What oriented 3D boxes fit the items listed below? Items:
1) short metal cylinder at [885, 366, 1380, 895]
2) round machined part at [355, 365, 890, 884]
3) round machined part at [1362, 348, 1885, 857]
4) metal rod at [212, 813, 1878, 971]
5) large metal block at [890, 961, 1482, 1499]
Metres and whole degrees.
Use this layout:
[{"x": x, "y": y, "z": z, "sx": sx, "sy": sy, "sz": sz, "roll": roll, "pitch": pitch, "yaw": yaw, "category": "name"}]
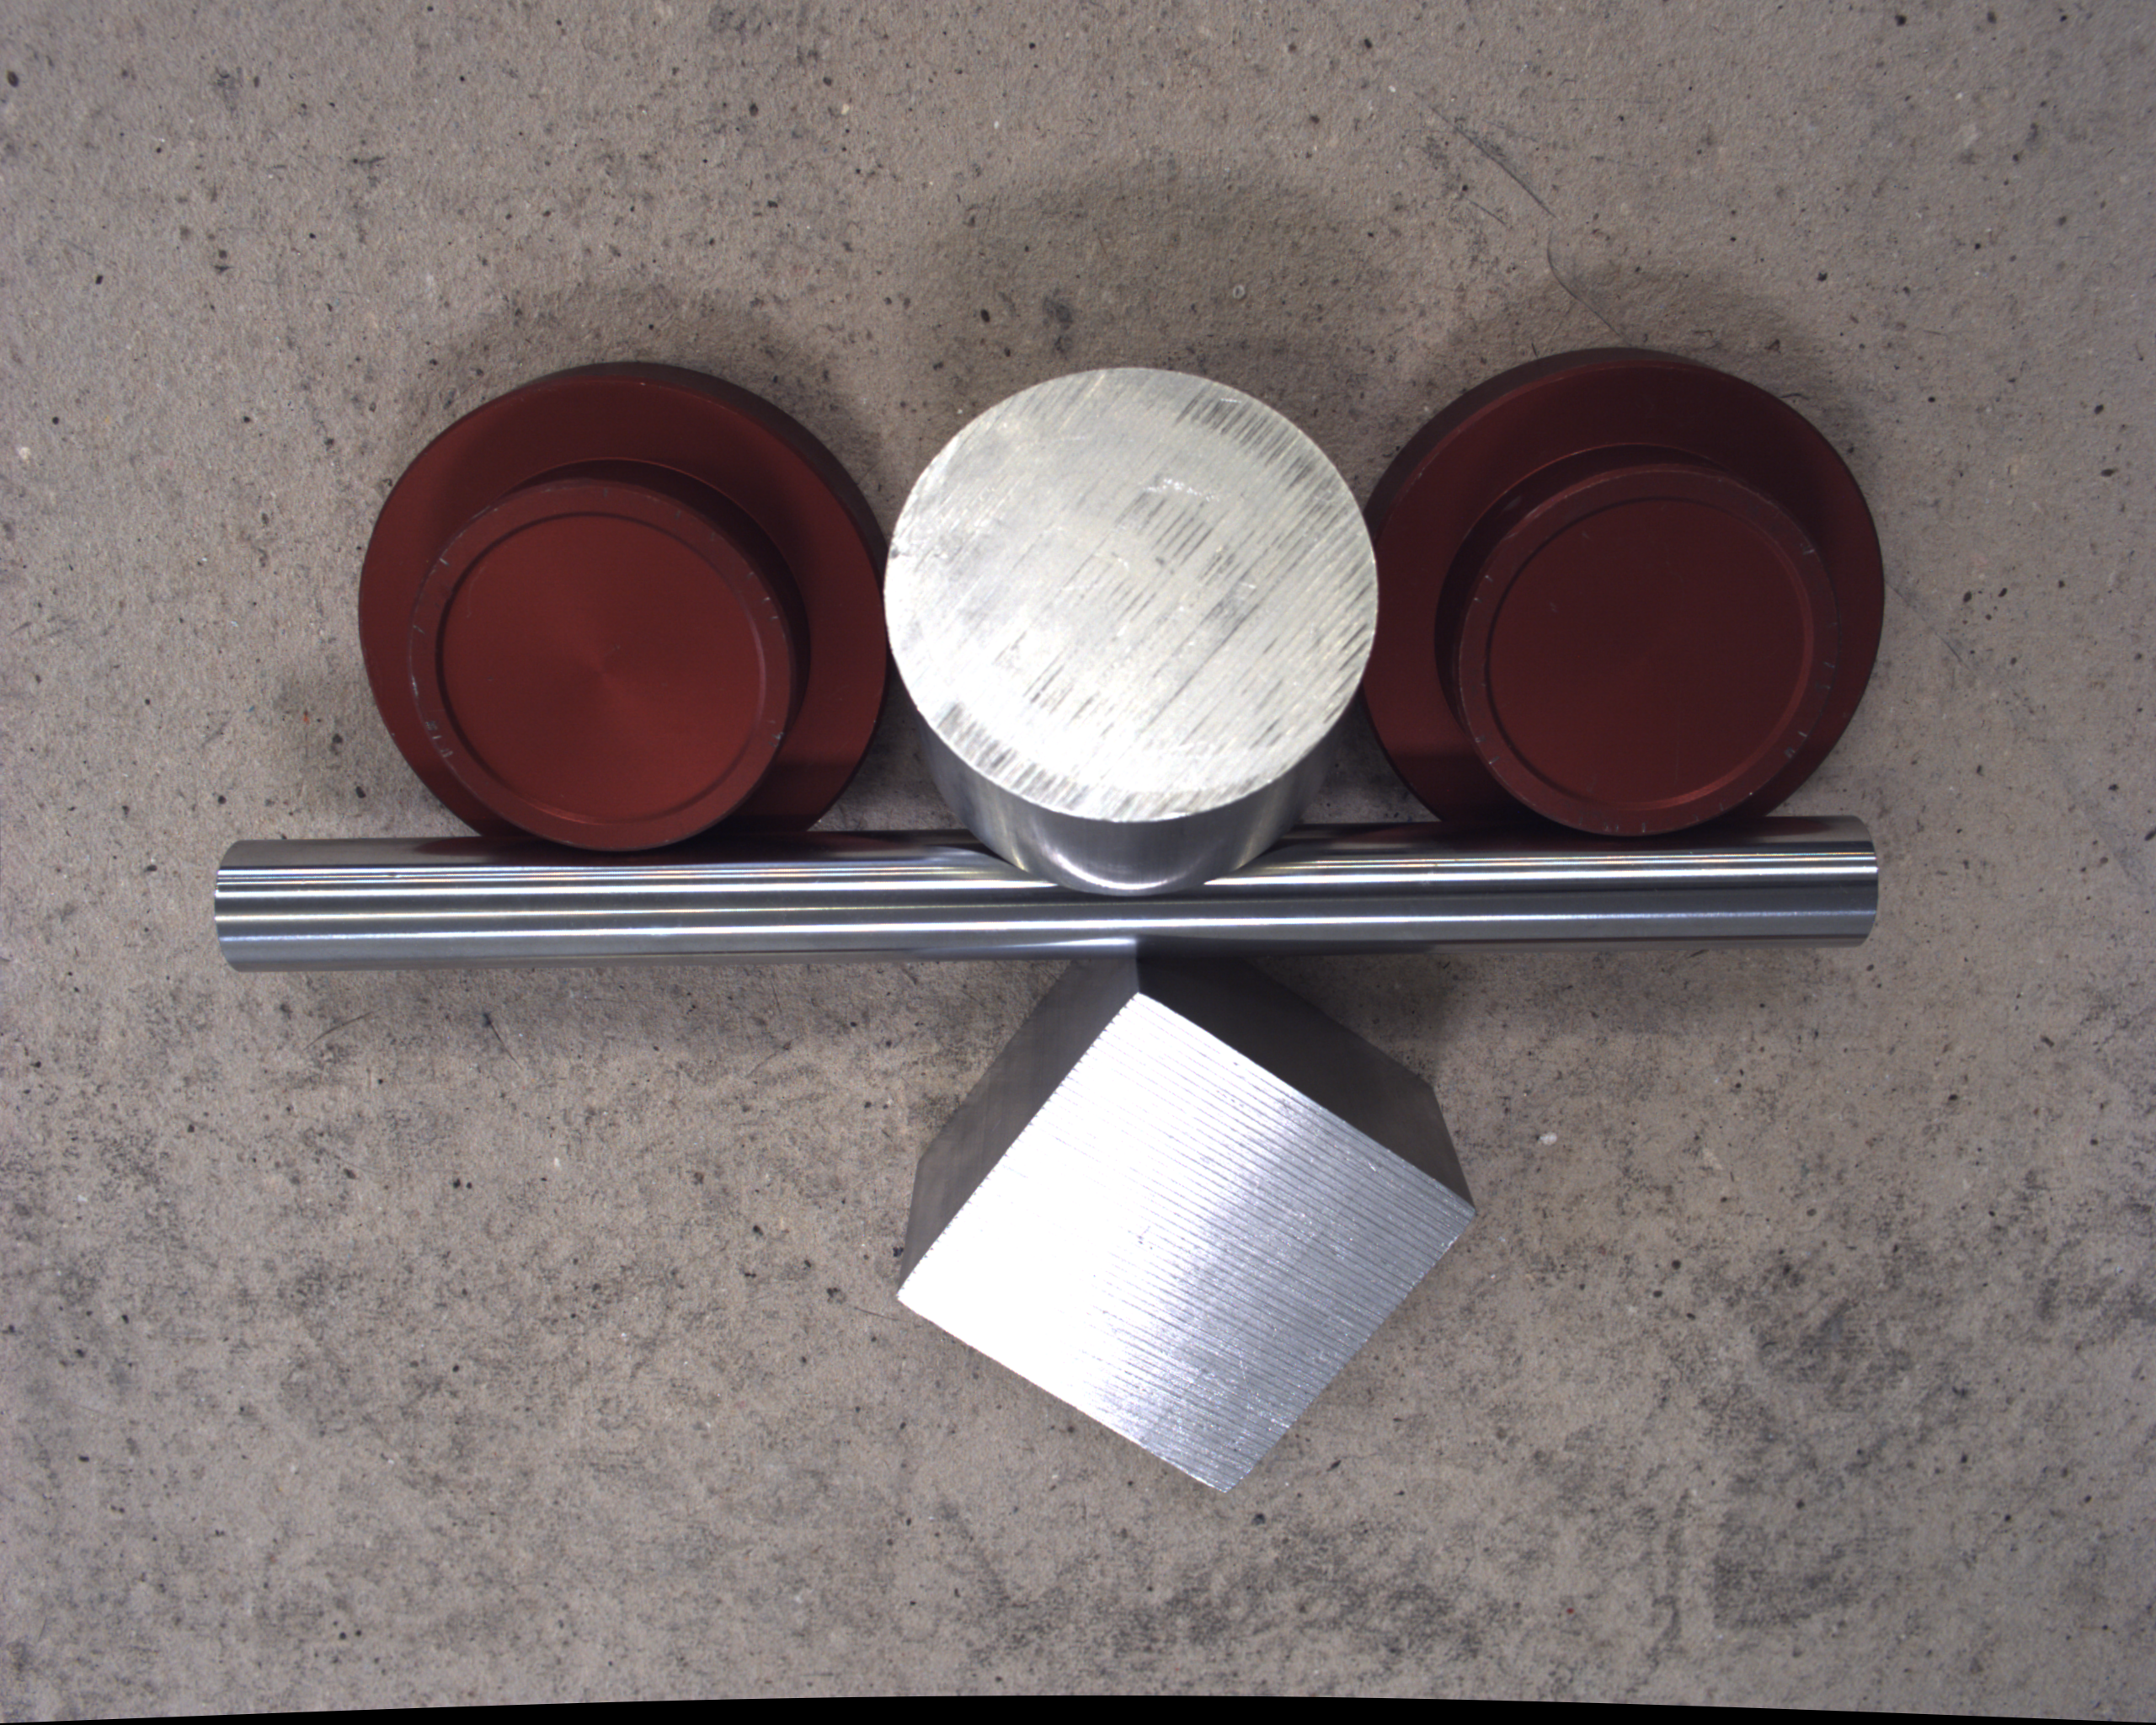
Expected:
[{"x": 0.009, "y": -0.038, "z": 0.364, "sx": 0.080, "sy": 0.050, "sz": 0.080, "roll": 0, "pitch": 75, "yaw": 0, "category": "short metal cylinder"}, {"x": -0.084, "y": -0.040, "z": 0.385, "sx": 0.099, "sy": 0.042, "sz": 0.097, "roll": 0, "pitch": 110, "yaw": 0, "category": "round machined part"}, {"x": 0.101, "y": -0.043, "z": 0.387, "sx": 0.099, "sy": 0.042, "sz": 0.097, "roll": 0, "pitch": 110, "yaw": 0, "category": "round machined part"}, {"x": -0.006, "y": 0.006, "z": 0.390, "sx": 0.302, "sy": 0.025, "sz": 0.025, "roll": -1, "pitch": 110, "yaw": 0, "category": "metal rod"}, {"x": 0.020, "y": 0.066, "z": 0.420, "sx": 0.080, "sy": 0.050, "sz": 0.080, "roll": 34, "pitch": 107, "yaw": -12, "category": "large metal block"}]
